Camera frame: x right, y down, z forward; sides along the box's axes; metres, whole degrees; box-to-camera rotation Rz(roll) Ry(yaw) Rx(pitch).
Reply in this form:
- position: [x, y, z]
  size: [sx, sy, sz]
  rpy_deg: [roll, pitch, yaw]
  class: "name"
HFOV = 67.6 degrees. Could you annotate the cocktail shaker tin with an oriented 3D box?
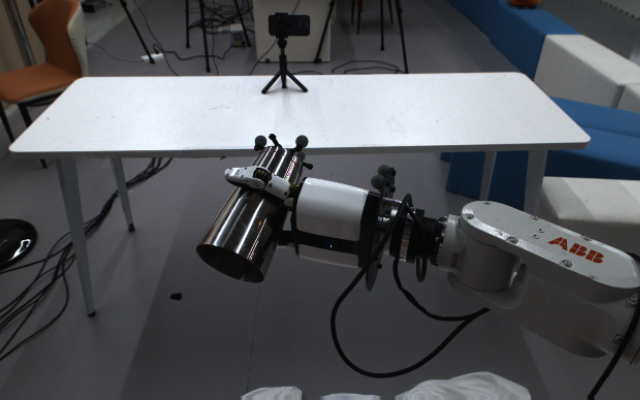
- position: [-0.084, 0.012, 0.639]
  size: [0.093, 0.093, 0.170]
  rpy_deg: [13, 58, 16]
  class: "cocktail shaker tin"
